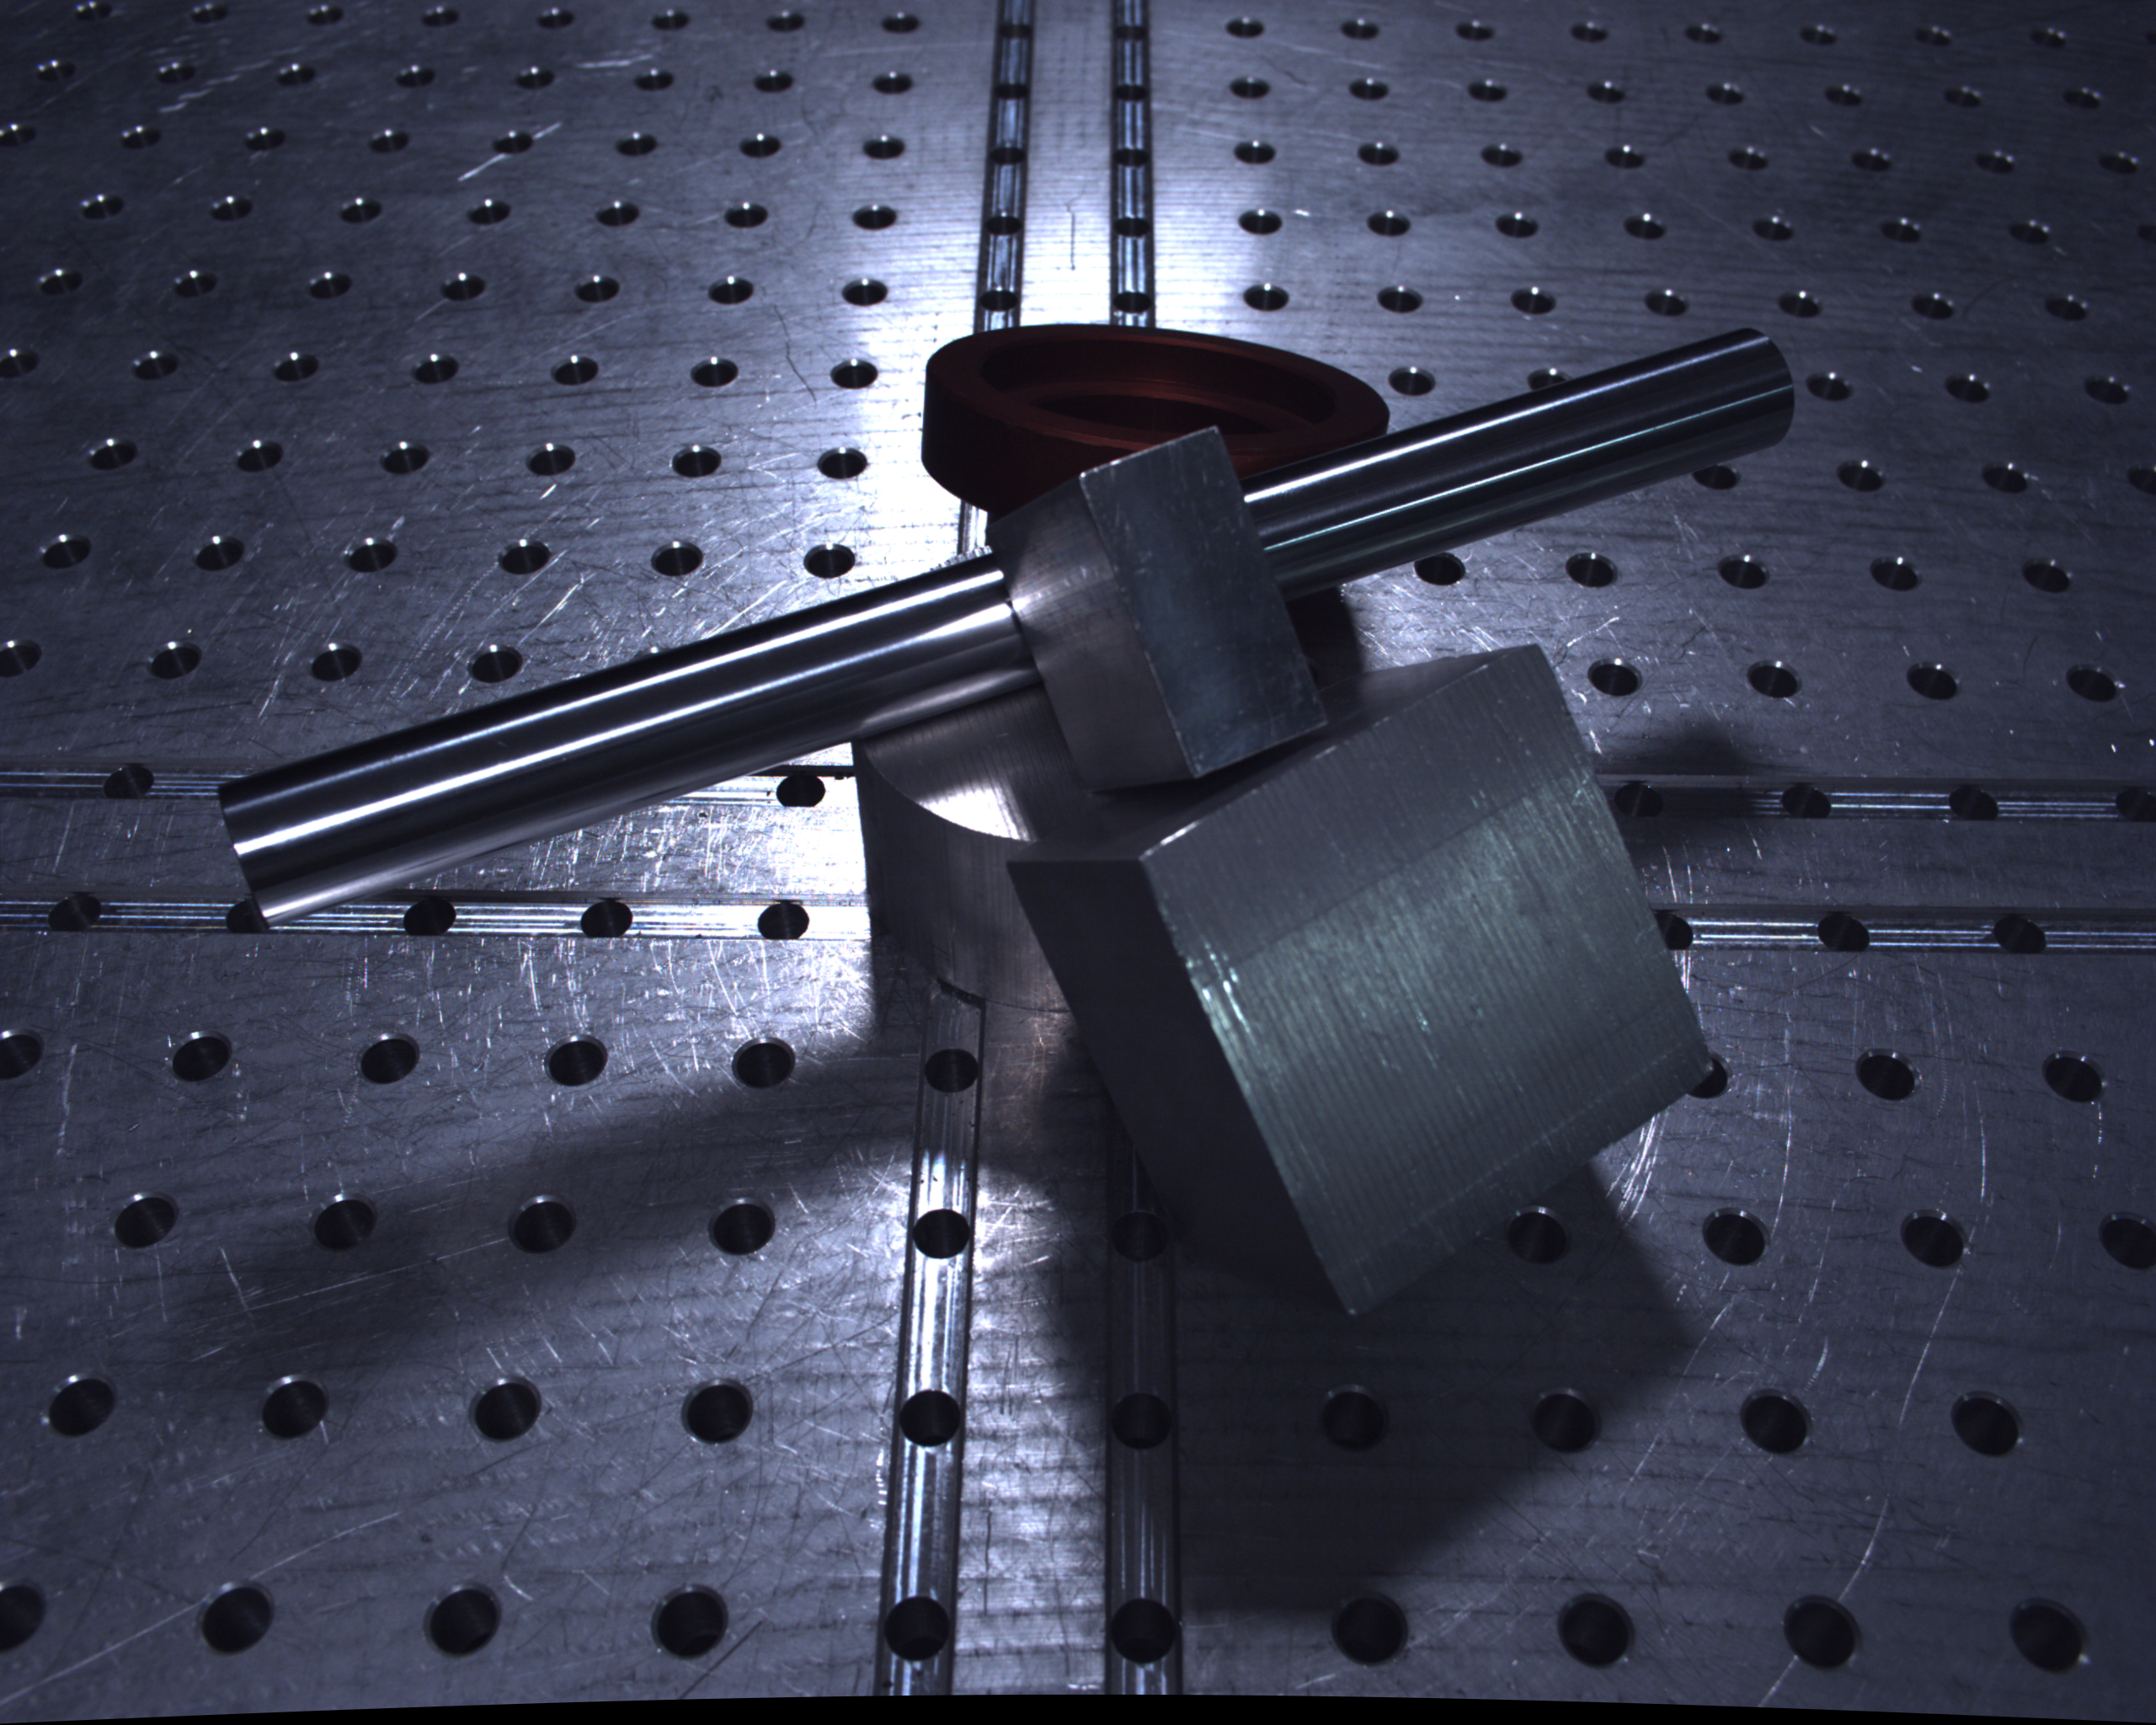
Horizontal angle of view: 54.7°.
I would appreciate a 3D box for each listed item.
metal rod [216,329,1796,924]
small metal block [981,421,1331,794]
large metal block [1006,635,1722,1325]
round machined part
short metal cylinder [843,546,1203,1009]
[{"bbox_3d":[0.001,-0.049,0.383,0.302,0.025,0.025,-19,53,-16],"label":"metal rod"},{"bbox_3d":[0.012,-0.040,0.346,0.025,0.050,0.050,-23,96,-19],"label":"small metal block"},{"bbox_3d":[0.048,0.017,0.348,0.081,0.050,0.080,-29,100,-22],"label":"large metal block"},{"bbox_3d":[0.015,-0.084,0.452,0.099,0.042,0.098,5,28,-2],"label":"round machined part"},{"bbox_3d":[-0.003,-0.018,0.406,0.081,0.050,0.080,0,50,0],"label":"short metal cylinder"}]
